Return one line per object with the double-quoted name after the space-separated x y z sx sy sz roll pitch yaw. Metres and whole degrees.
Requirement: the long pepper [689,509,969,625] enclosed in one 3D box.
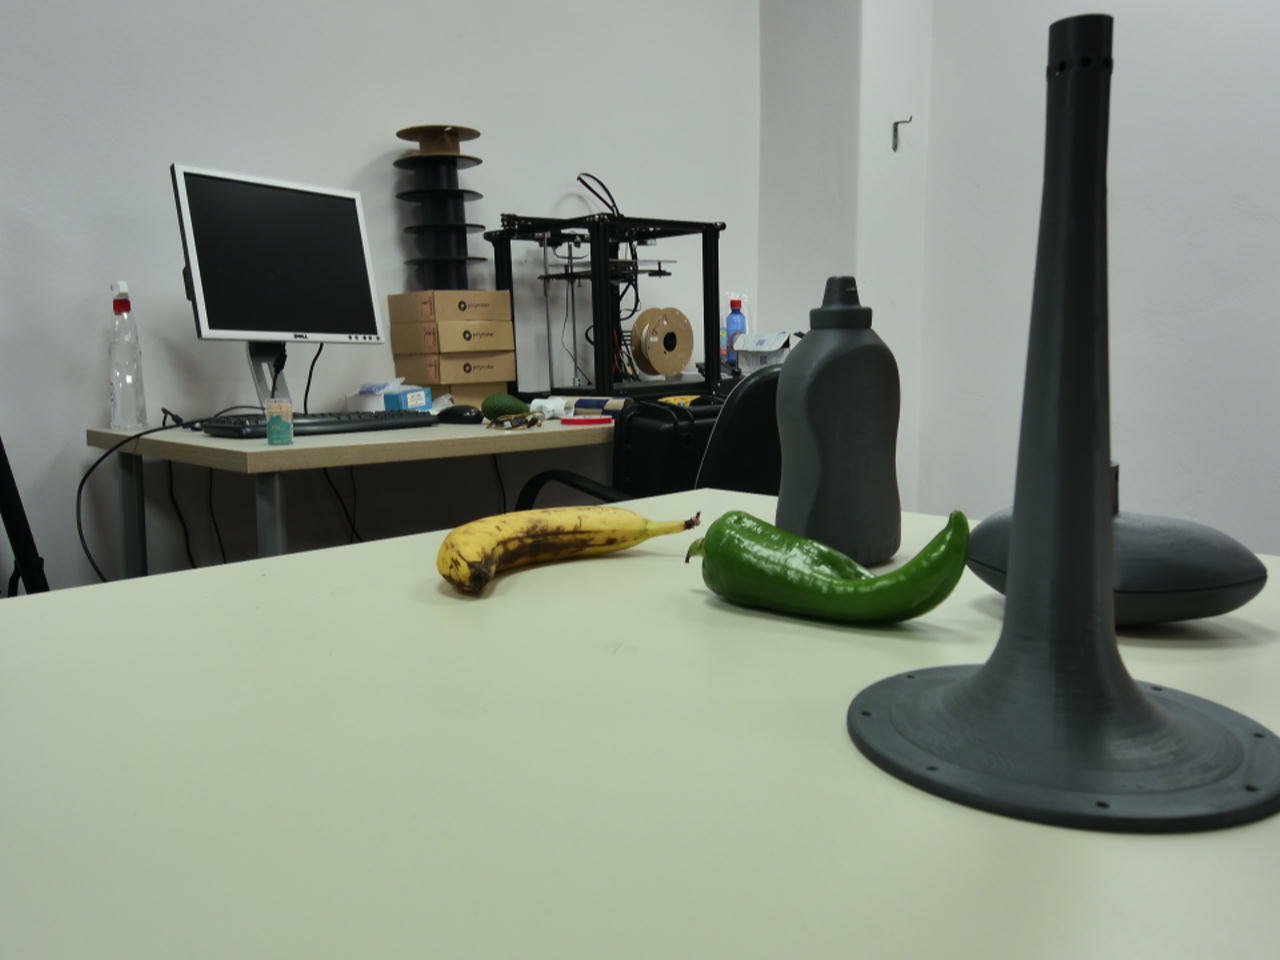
0.094 0.042 0.555 0.058 0.065 0.175 -4 8 -44 "long pepper"
